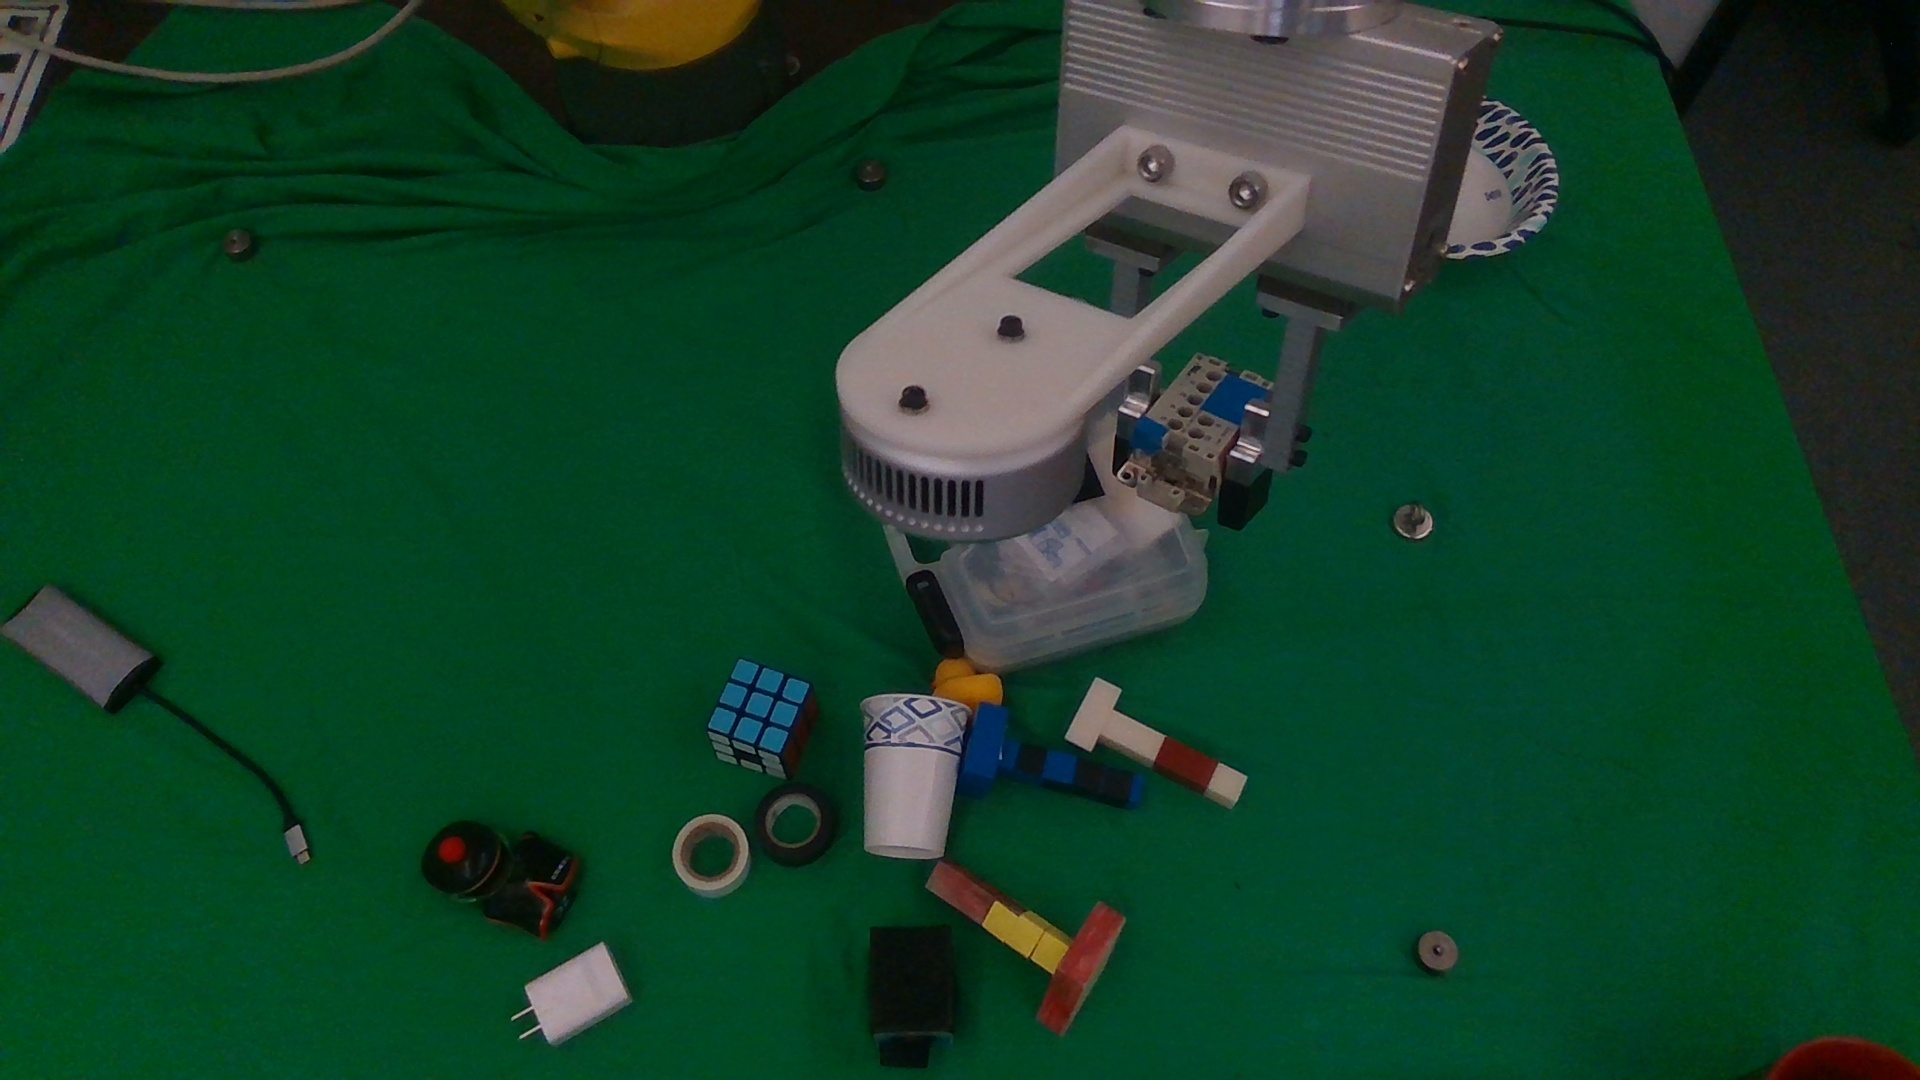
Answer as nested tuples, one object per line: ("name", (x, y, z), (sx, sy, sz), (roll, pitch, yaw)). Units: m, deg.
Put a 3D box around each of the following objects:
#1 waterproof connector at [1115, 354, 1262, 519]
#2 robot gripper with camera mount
("waterproof connector", (0.084, -0.035, 0.490), (0.035, 0.037, 0.065), (25, 57, 24))
("robot gripper with camera mount", (0.041, -0.037, 0.403), (0.119, 0.158, 0.193), (23, 47, 28))
